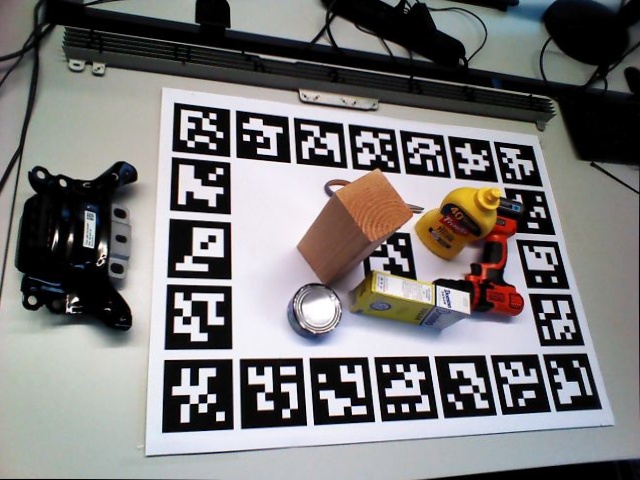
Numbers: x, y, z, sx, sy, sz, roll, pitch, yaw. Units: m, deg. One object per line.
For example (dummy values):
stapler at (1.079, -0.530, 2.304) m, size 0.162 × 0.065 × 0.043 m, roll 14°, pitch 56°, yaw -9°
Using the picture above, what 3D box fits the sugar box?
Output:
sugar box at (0.166, 0.104, 0.851) m, size 0.176 × 0.093 × 0.045 m, roll 15°, pitch 62°, yaw -15°

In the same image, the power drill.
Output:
power drill at (0.291, 0.036, 0.938) m, size 0.184 × 0.058 × 0.186 m, roll 16°, pitch 72°, yaw -12°

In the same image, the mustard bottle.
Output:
mustard bottle at (0.261, -0.034, 0.889) m, size 0.058 × 0.193 × 0.096 m, roll -40°, pitch 87°, yaw -26°

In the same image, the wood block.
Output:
wood block at (0.057, -0.014, 0.805) m, size 0.090 × 0.207 × 0.090 m, roll -27°, pitch 81°, yaw -26°

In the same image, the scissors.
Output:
scissors at (0.102, -0.072, 0.938) m, size 0.202 × 0.016 × 0.087 m, roll 5°, pitch 64°, yaw -17°

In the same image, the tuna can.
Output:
tuna can at (0.001, 0.110, 0.820) m, size 0.085 × 0.034 × 0.085 m, roll 6°, pitch 69°, yaw -17°
